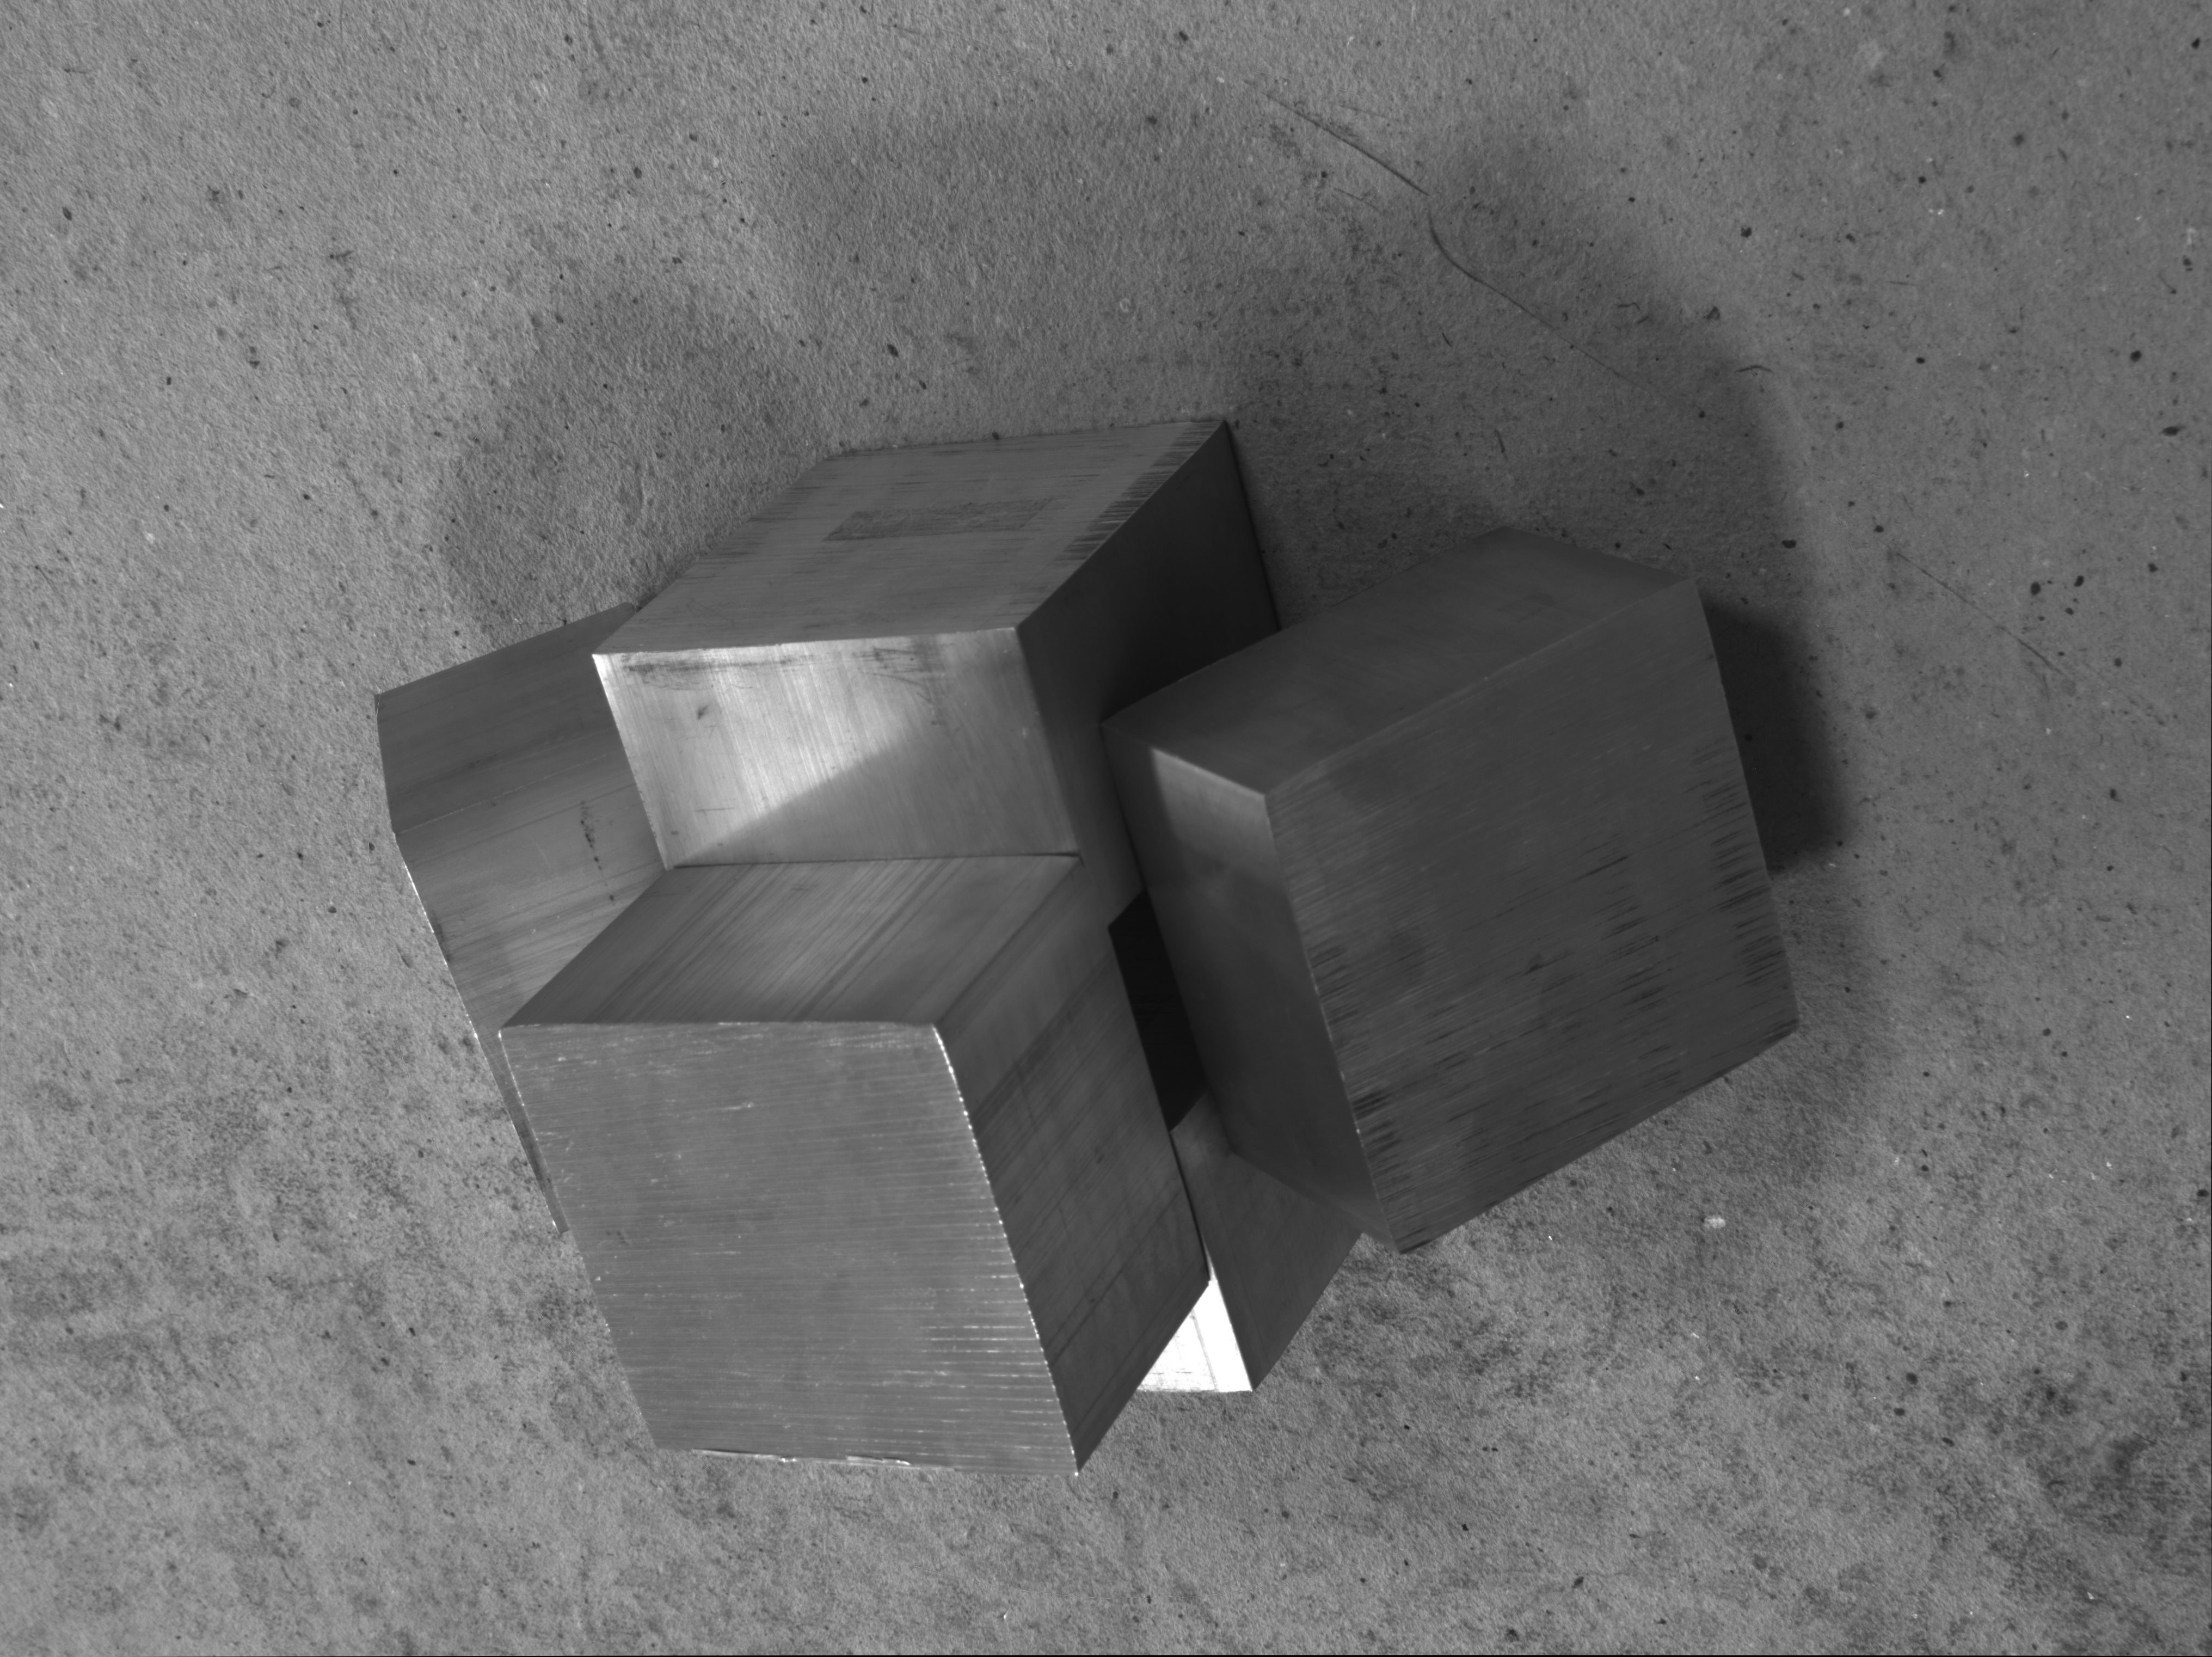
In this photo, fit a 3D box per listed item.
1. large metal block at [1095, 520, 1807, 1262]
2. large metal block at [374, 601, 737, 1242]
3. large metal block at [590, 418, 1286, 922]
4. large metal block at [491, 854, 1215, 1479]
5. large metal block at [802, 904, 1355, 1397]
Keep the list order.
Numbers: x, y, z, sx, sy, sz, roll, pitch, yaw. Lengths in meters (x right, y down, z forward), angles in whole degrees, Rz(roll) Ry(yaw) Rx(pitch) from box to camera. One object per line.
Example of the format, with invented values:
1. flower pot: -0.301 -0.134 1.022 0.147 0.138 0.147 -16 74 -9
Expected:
1. large metal block: 0.055 0.008 0.572 0.050 0.080 0.080 25 137 58
2. large metal block: -0.091 0.015 0.656 0.050 0.080 0.080 -20 112 -6
3. large metal block: -0.024 -0.026 0.605 0.080 0.080 0.050 -2 117 29
4. large metal block: -0.038 0.052 0.575 0.080 0.050 0.080 -2 117 29
5. large metal block: 0.001 0.054 0.642 0.080 0.080 0.050 -4 116 31
